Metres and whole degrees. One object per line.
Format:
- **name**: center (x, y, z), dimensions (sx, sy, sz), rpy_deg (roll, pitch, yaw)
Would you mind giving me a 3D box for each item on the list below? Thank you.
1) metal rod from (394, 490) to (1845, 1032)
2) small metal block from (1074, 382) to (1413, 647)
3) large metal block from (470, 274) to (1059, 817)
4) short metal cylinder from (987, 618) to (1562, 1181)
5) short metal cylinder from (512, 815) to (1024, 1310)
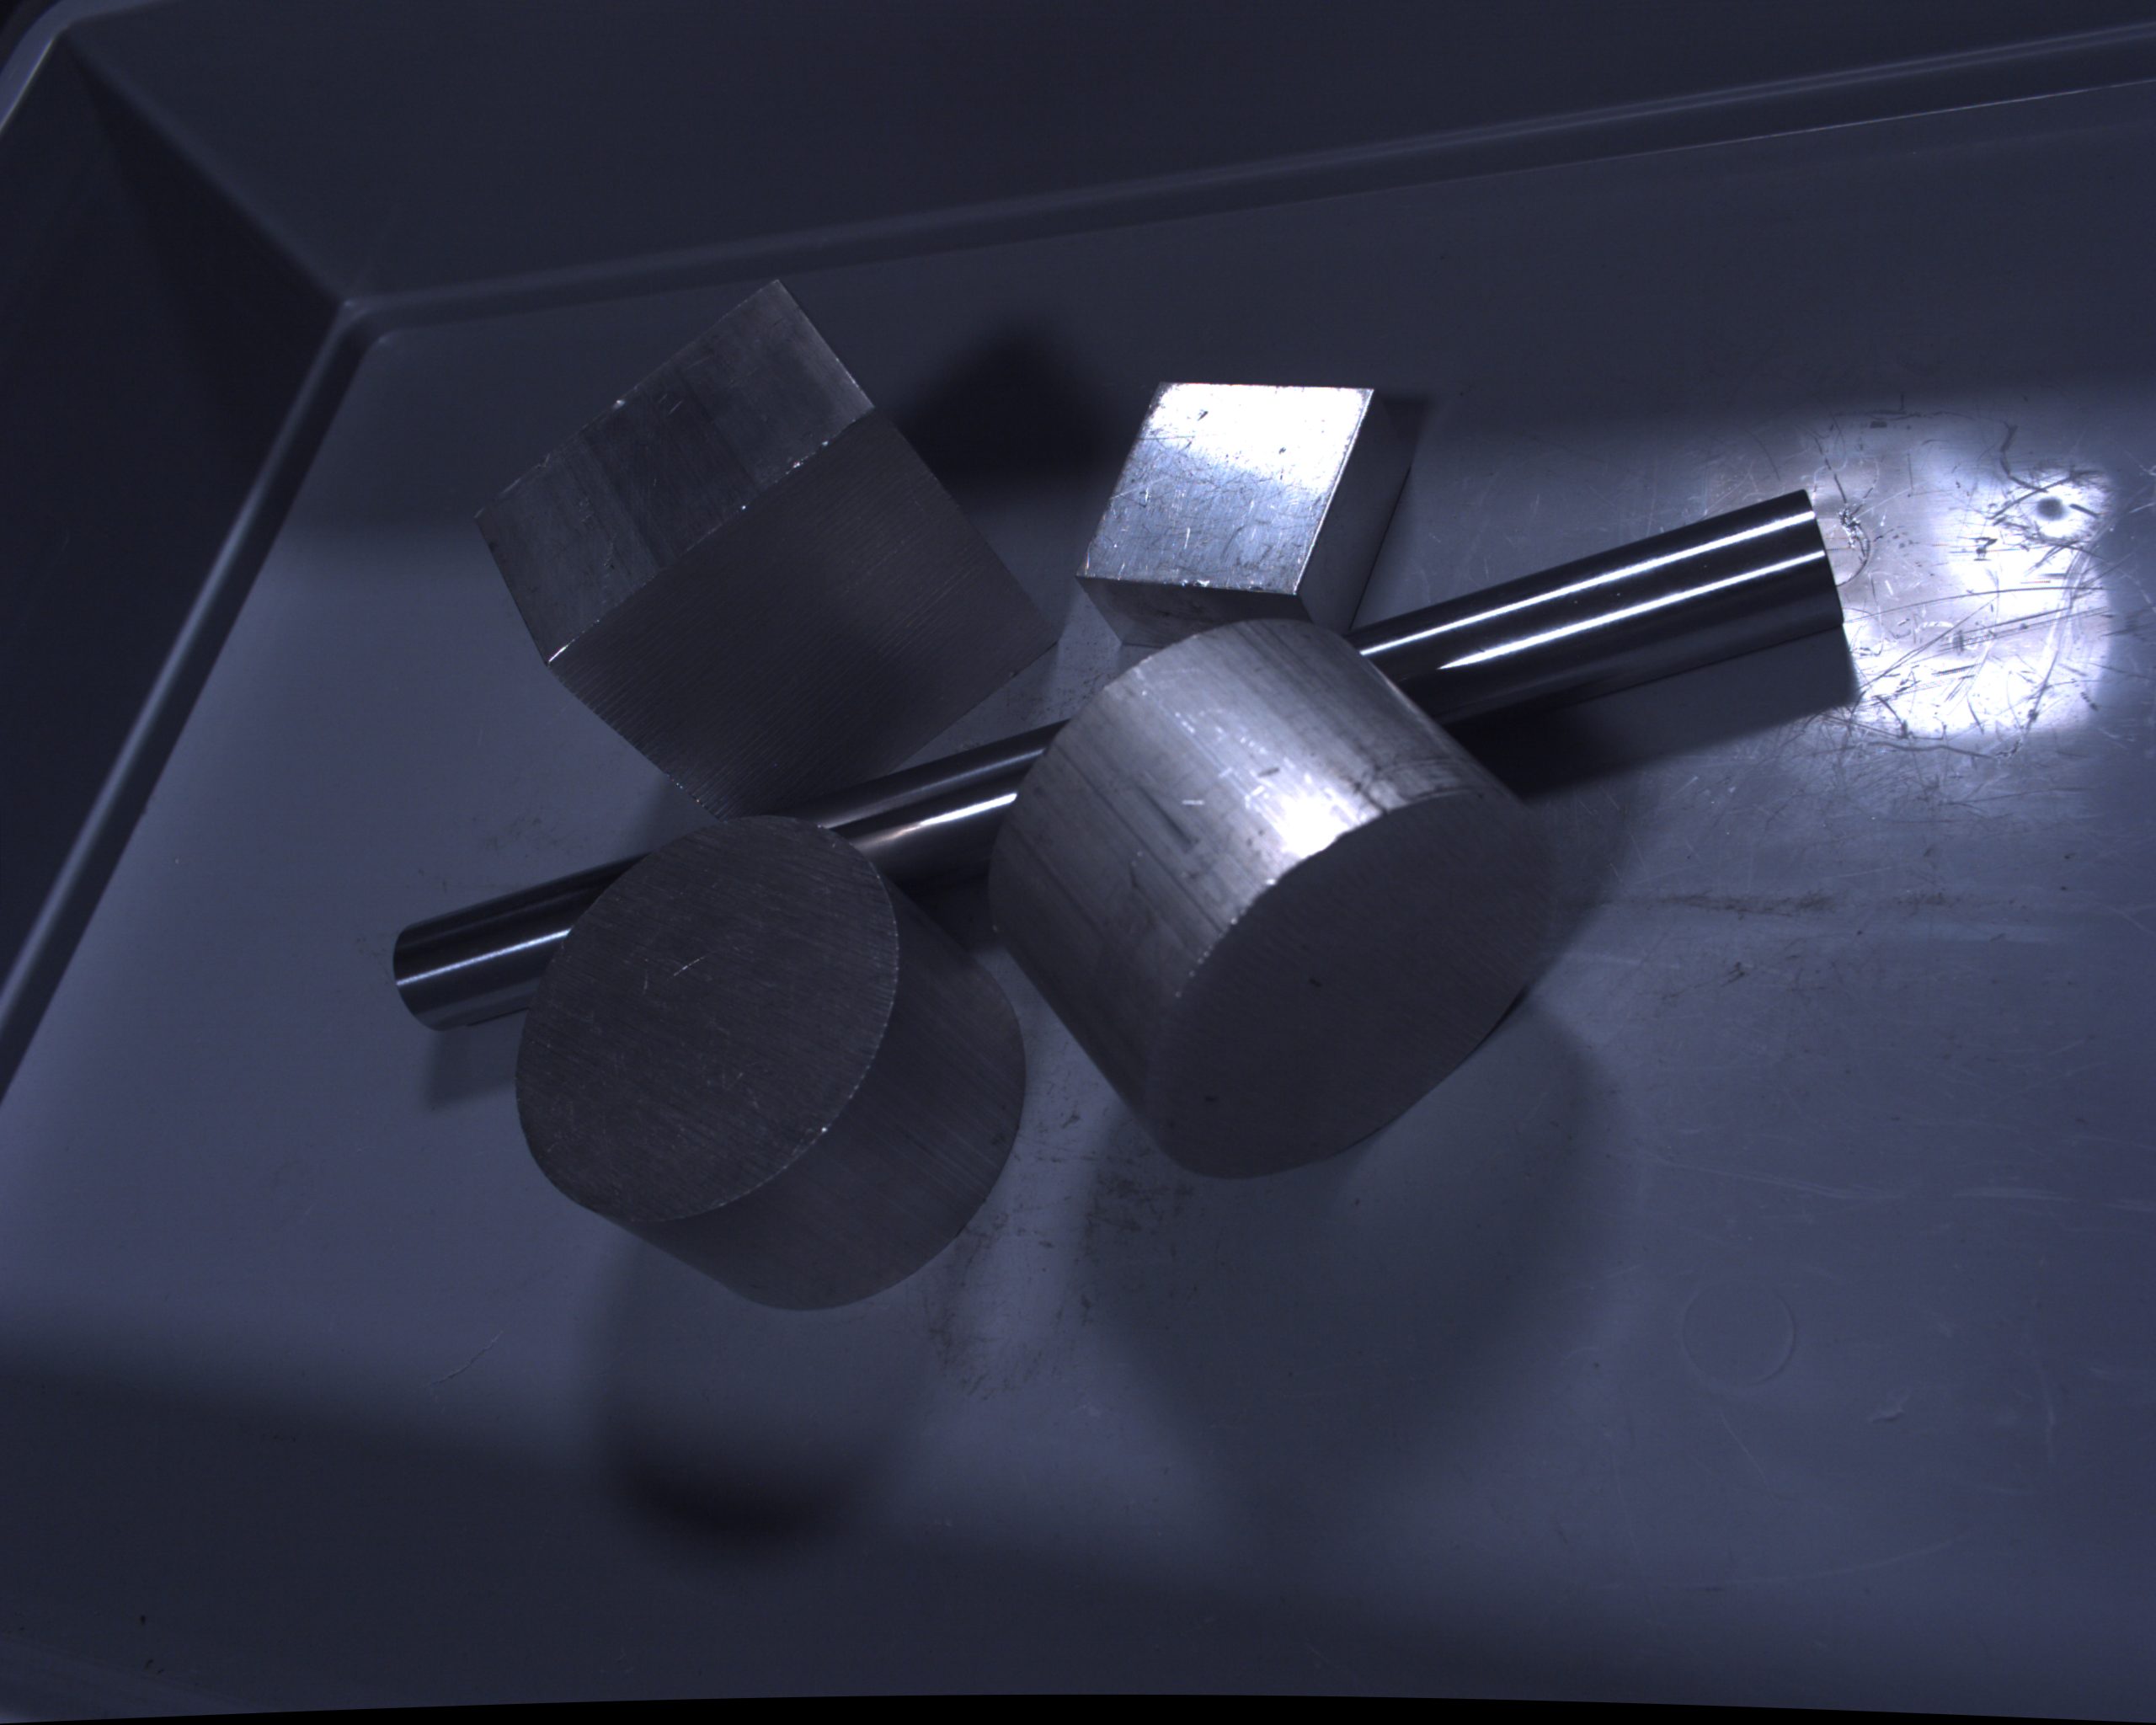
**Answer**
- **metal rod**: center (-0.006, -0.014, 0.415), dimensions (0.301, 0.025, 0.025), rpy_deg (-16, 55, 18)
- **small metal block**: center (0.034, -0.070, 0.428), dimensions (0.050, 0.025, 0.050), rpy_deg (9, 66, 31)
- **large metal block**: center (-0.064, -0.060, 0.438), dimensions (0.080, 0.080, 0.050), rpy_deg (-37, 51, 3)
- **short metal cylinder**: center (0.032, 0.006, 0.347), dimensions (0.080, 0.080, 0.050), rpy_deg (-40, 51, 0)
- **short metal cylinder**: center (-0.057, 0.038, 0.392), dimensions (0.080, 0.050, 0.080), rpy_deg (-13, 56, 20)
